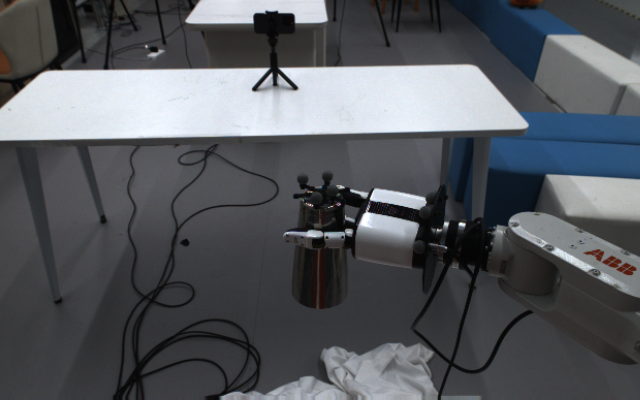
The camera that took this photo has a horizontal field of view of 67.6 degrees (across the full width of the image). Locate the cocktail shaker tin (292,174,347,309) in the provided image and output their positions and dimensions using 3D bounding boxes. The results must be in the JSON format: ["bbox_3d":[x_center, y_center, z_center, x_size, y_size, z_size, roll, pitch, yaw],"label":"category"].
[{"bbox_3d":[0.004,0.070,0.757,0.093,0.170,0.093,1,27,-1],"label":"cocktail shaker tin"}]
